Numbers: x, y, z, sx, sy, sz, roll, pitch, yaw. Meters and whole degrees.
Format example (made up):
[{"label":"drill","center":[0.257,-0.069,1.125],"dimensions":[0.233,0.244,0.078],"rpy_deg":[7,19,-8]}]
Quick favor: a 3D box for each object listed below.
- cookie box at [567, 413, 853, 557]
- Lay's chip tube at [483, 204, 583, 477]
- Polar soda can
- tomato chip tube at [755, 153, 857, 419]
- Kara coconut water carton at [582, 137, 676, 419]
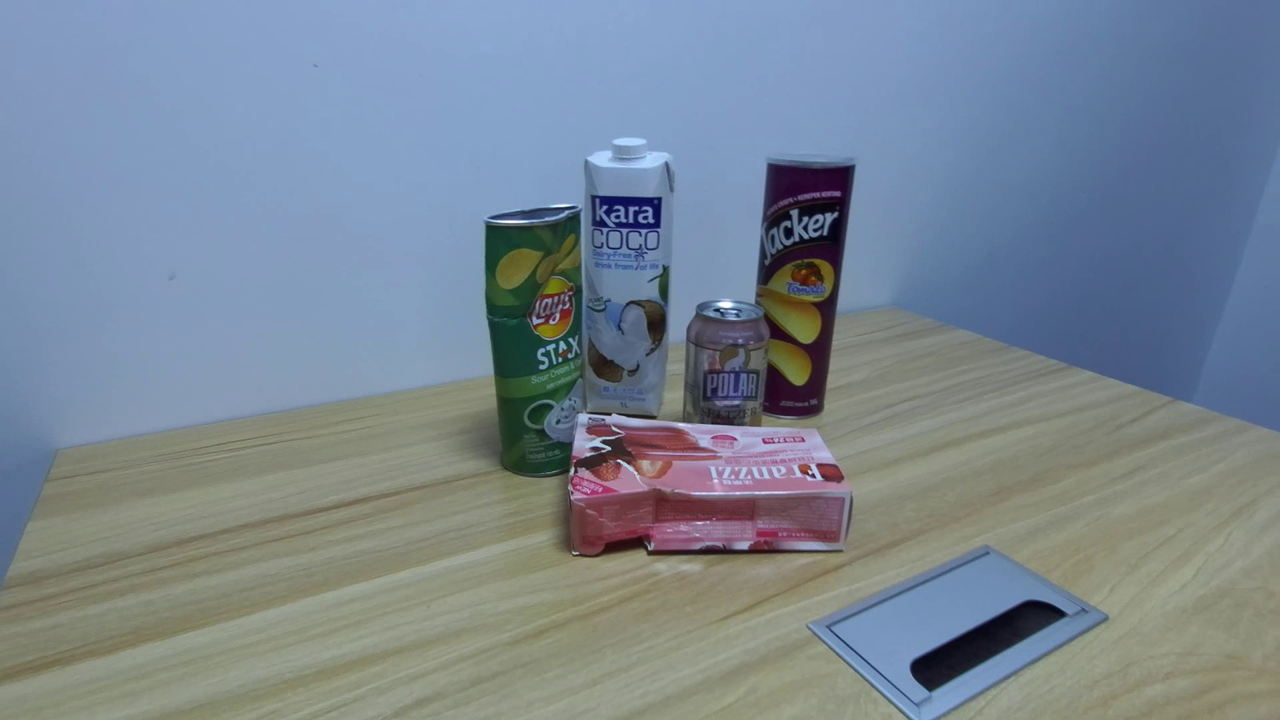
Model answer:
[{"label":"cookie box","center":[0.045,0.082,0.496],"dimensions":[0.186,0.059,0.105],"rpy_deg":[1,23,-4]},{"label":"Lay's chip tube","center":[-0.078,-0.013,0.549],"dimensions":[0.069,0.199,0.074],"rpy_deg":[-1,21,-4]},{"label":"Polar soda can","center":[0.070,0.016,0.581],"dimensions":[0.067,0.125,0.067],"rpy_deg":[1,22,0]},{"label":"tomato chip tube","center":[0.145,-0.066,0.650],"dimensions":[0.078,0.234,0.078],"rpy_deg":[1,21,0]},{"label":"Kara coconut water carton","center":[-0.010,-0.072,0.639],"dimensions":[0.077,0.245,0.075],"rpy_deg":[3,20,6]}]
